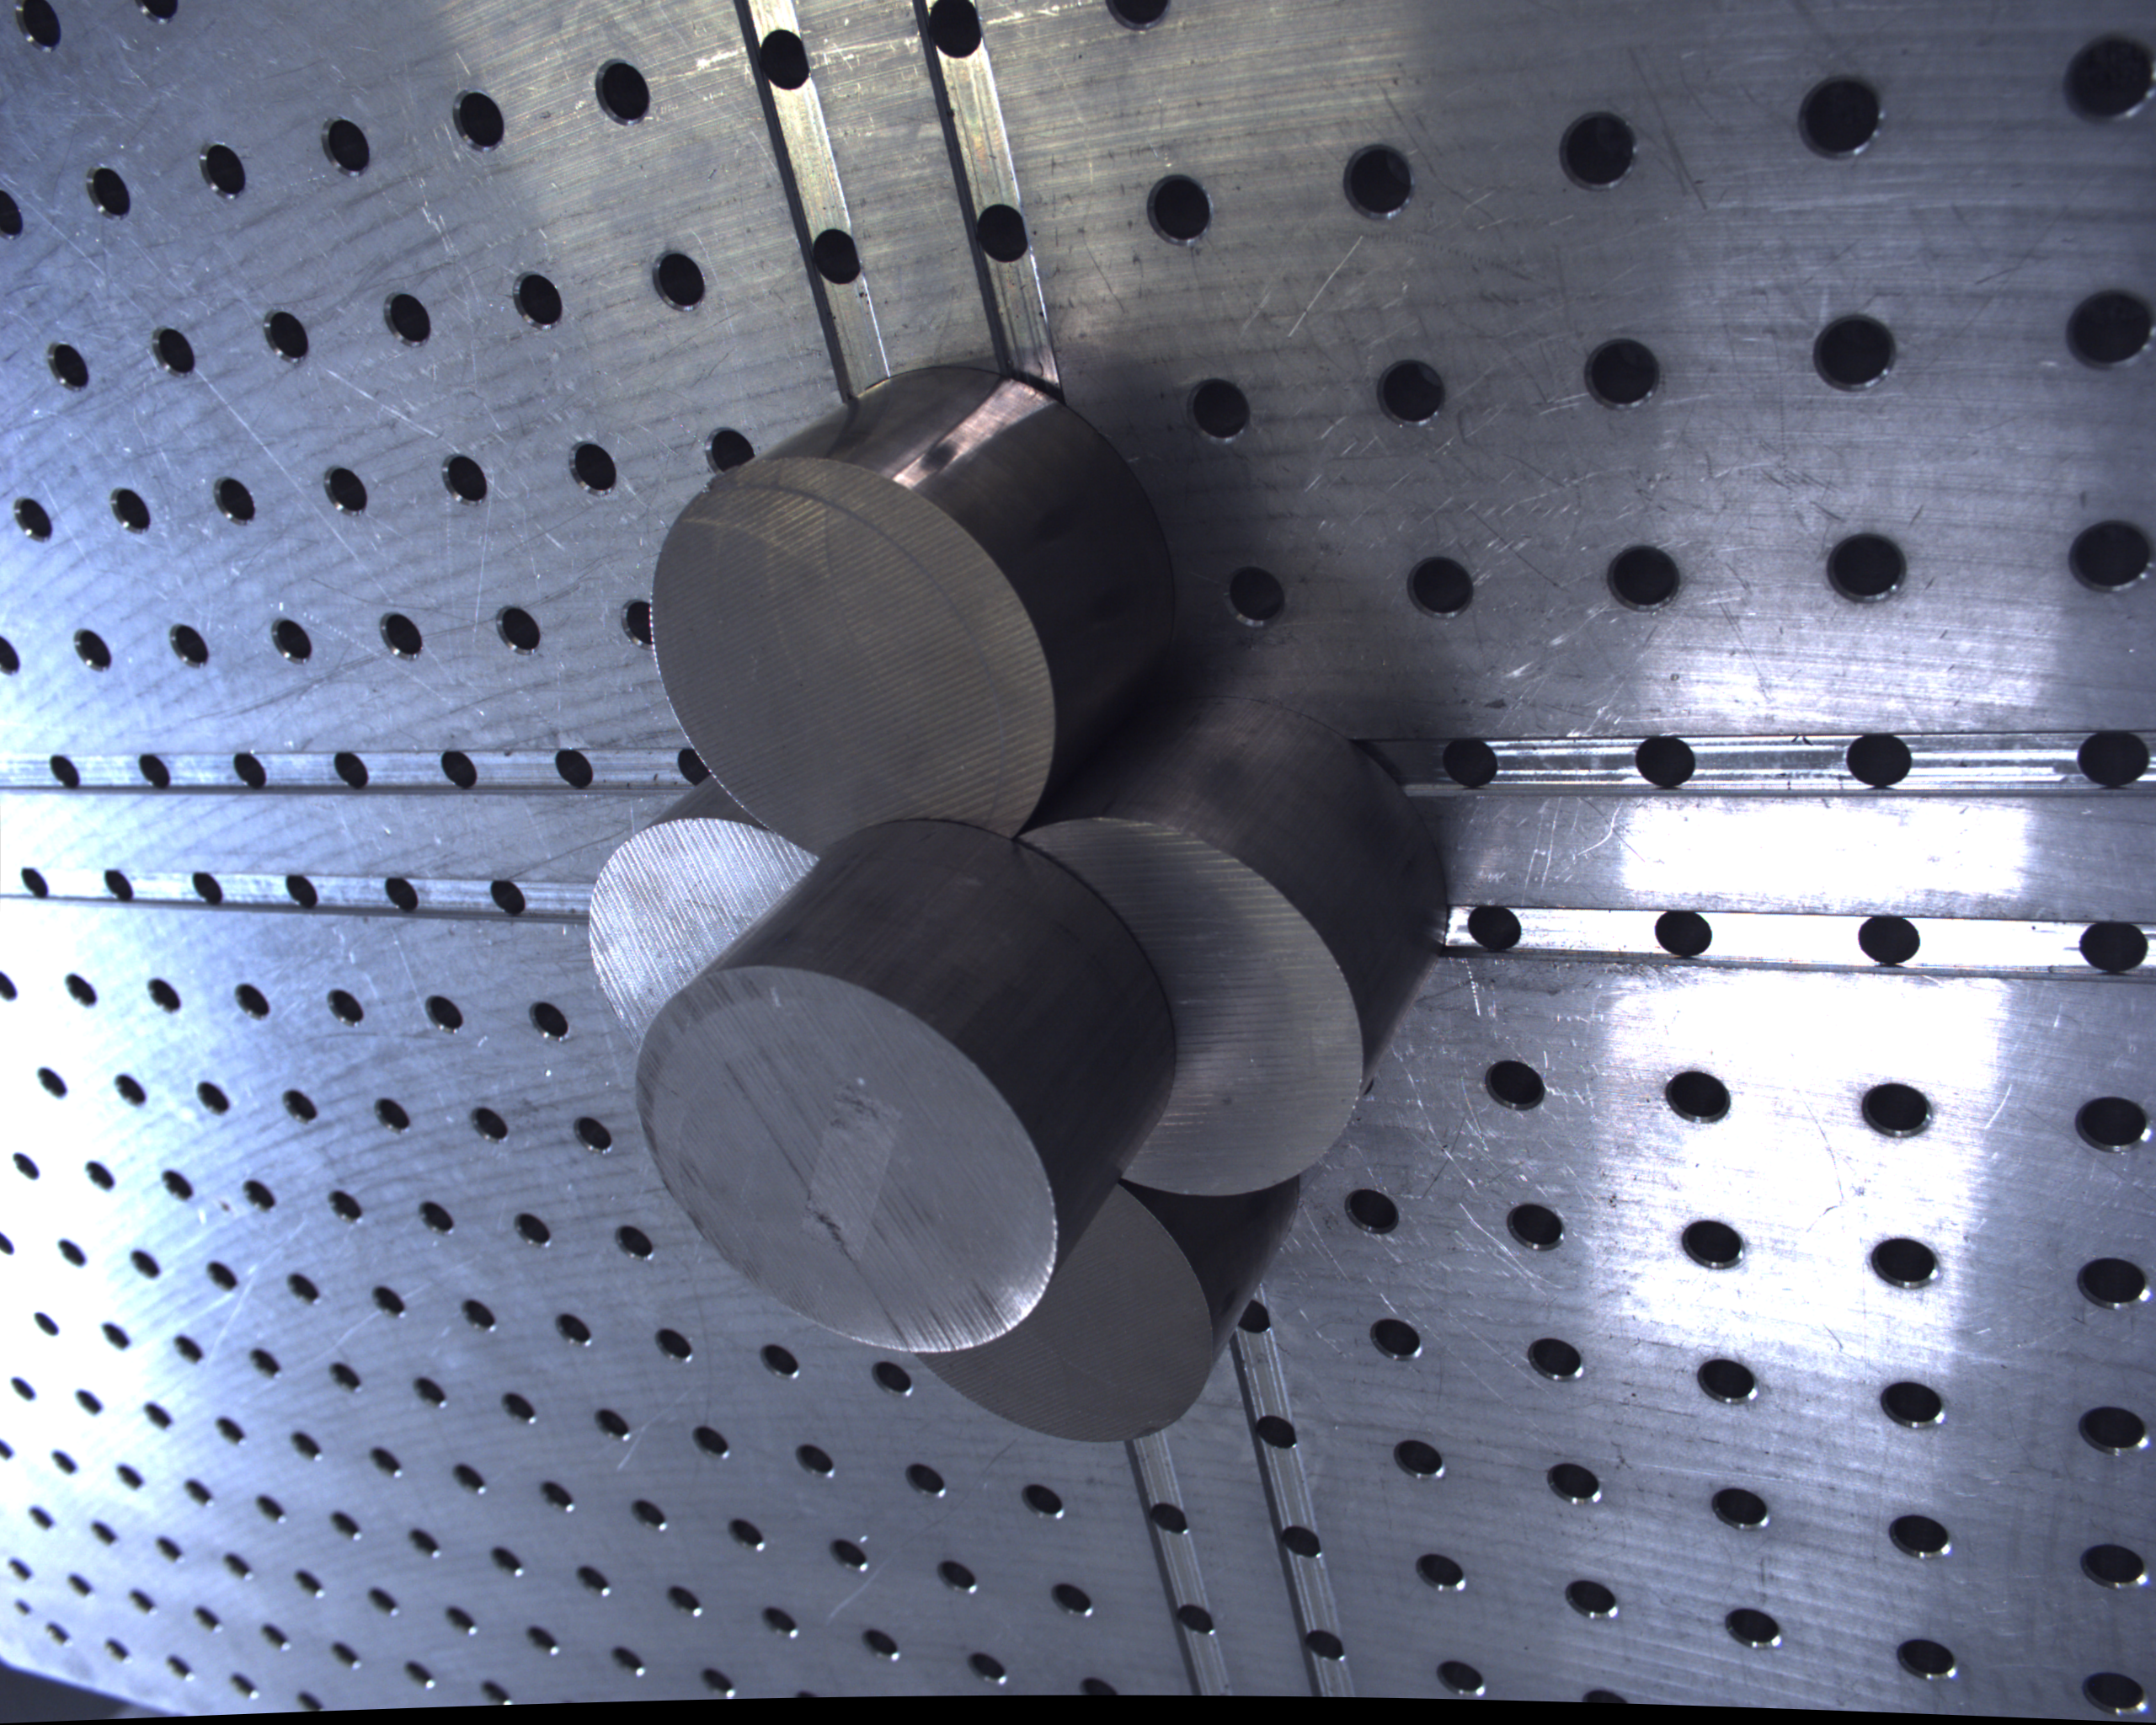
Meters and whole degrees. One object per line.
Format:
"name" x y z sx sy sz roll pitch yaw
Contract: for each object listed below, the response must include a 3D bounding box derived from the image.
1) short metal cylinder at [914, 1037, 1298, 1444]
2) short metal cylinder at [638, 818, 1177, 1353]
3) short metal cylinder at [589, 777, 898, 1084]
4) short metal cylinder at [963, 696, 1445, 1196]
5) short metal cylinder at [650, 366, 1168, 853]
"short metal cylinder" 0.000 0.075 0.441 0.080 0.050 0.079 12 122 21
"short metal cylinder" -0.029 0.039 0.369 0.080 0.050 0.079 13 124 21
"short metal cylinder" -0.053 0.014 0.432 0.080 0.050 0.079 13 124 21
"short metal cylinder" 0.023 0.015 0.392 0.080 0.050 0.079 13 124 21
"short metal cylinder" -0.030 -0.045 0.383 0.080 0.050 0.079 13 124 20
